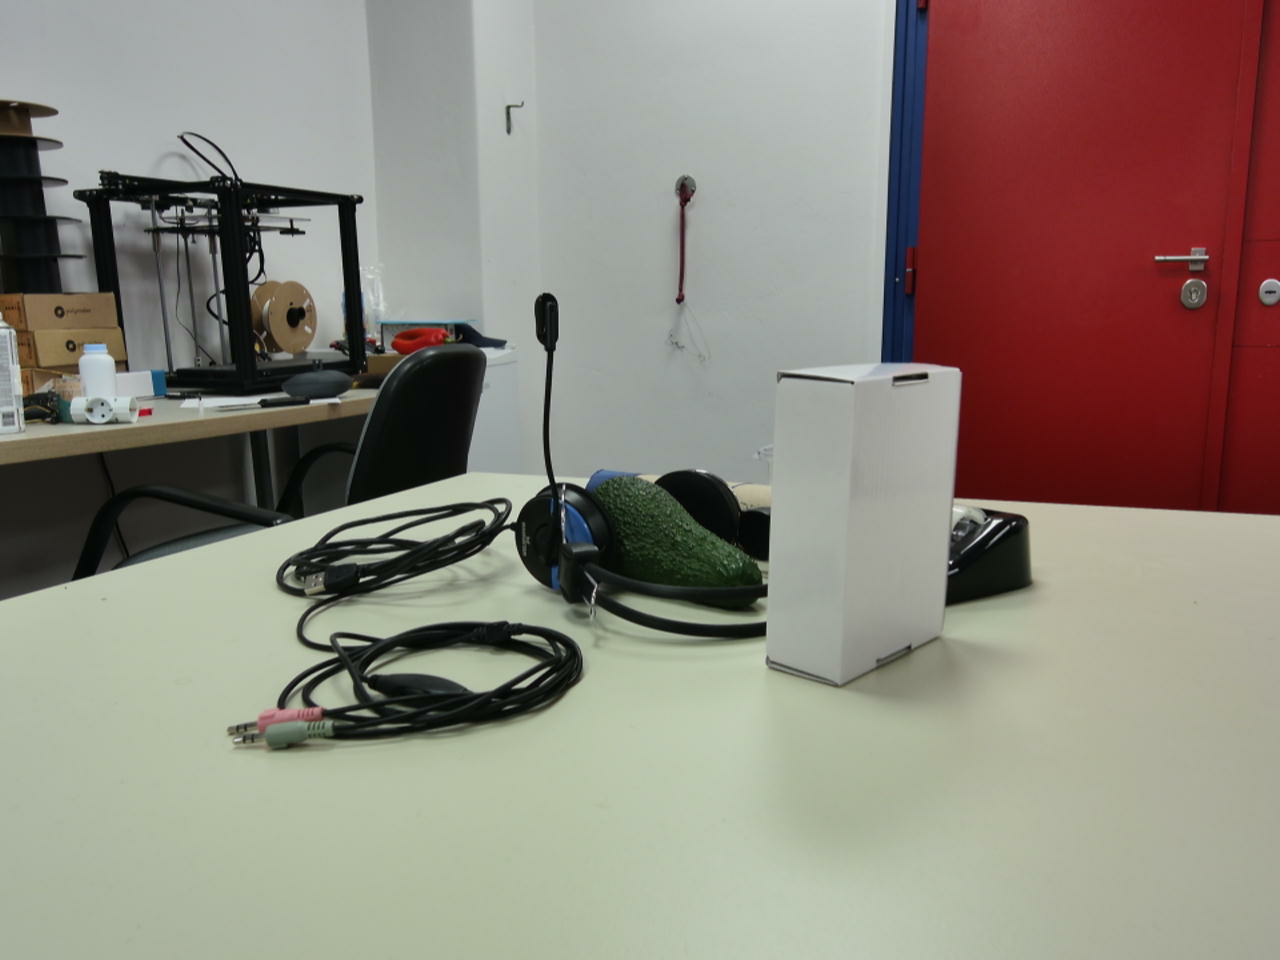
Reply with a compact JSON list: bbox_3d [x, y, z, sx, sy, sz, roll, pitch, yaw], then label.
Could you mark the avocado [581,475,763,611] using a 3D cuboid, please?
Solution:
[{"bbox_3d":[0.021,0.033,0.598,0.141,0.067,0.063,6,9,38],"label":"avocado"}]
